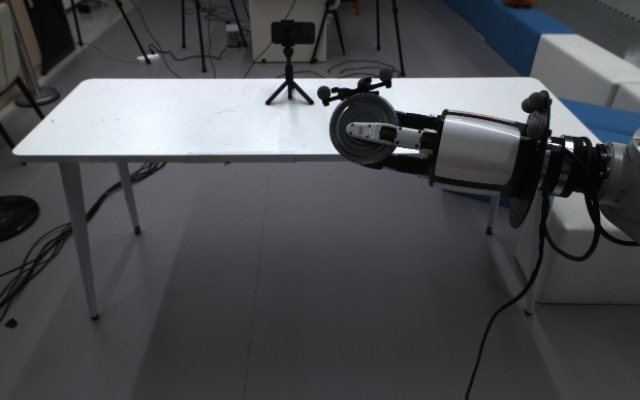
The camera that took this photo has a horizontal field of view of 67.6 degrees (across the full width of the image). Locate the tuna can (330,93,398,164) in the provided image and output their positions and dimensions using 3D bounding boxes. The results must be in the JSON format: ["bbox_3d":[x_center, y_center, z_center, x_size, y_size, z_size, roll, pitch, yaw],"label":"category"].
[{"bbox_3d":[0.060,-0.082,0.594,0.085,0.085,0.034,12,3,14],"label":"tuna can"}]
